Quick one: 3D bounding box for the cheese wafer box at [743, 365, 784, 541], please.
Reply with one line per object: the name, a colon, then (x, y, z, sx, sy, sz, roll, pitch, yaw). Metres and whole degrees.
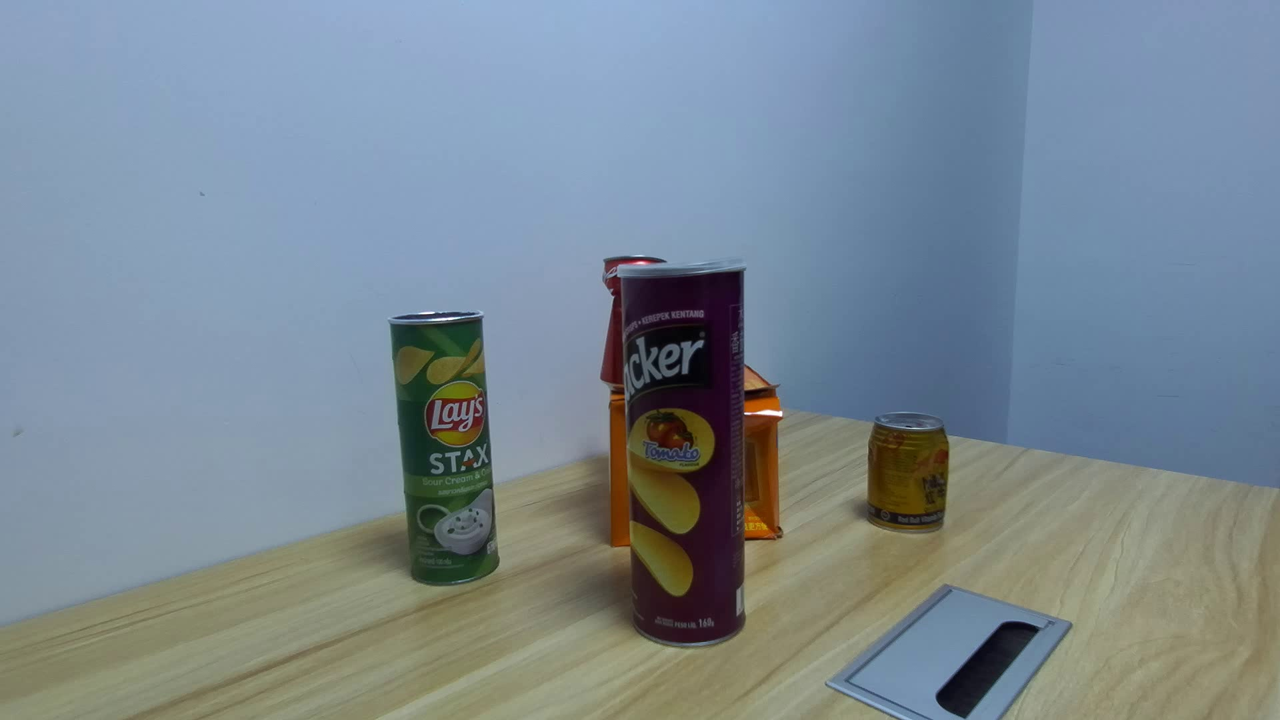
cheese wafer box: (0.046, 0.073, 0.683, 0.150, 0.137, 0.227, -1, 8, -1)

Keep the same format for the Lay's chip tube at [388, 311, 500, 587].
Lay's chip tube: (-0.150, 0.065, 0.550, 0.071, 0.202, 0.071, -2, 9, 1)

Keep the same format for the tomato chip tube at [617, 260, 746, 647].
tomato chip tube: (0.030, 0.058, 0.454, 0.078, 0.233, 0.078, -2, 9, 1)

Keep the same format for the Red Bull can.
Red Bull can: (0.236, 0.097, 0.623, 0.069, 0.092, 0.069, -2, 10, 1)
